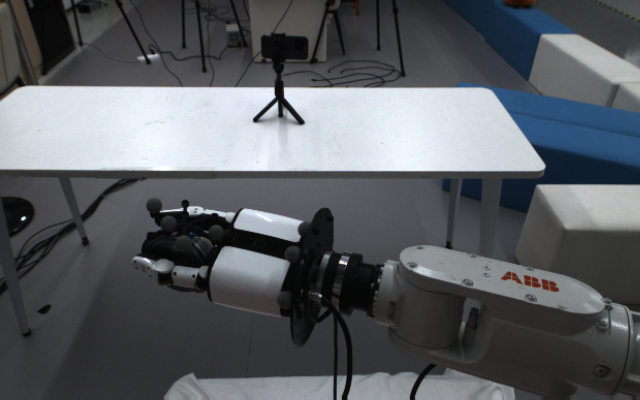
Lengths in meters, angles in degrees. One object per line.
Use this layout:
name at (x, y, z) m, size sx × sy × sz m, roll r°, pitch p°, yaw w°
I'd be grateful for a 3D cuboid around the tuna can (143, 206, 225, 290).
tuna can at (-0.165, 0.067, 0.579) m, size 0.085 × 0.085 × 0.034 m, roll 12°, pitch 32°, yaw 14°
